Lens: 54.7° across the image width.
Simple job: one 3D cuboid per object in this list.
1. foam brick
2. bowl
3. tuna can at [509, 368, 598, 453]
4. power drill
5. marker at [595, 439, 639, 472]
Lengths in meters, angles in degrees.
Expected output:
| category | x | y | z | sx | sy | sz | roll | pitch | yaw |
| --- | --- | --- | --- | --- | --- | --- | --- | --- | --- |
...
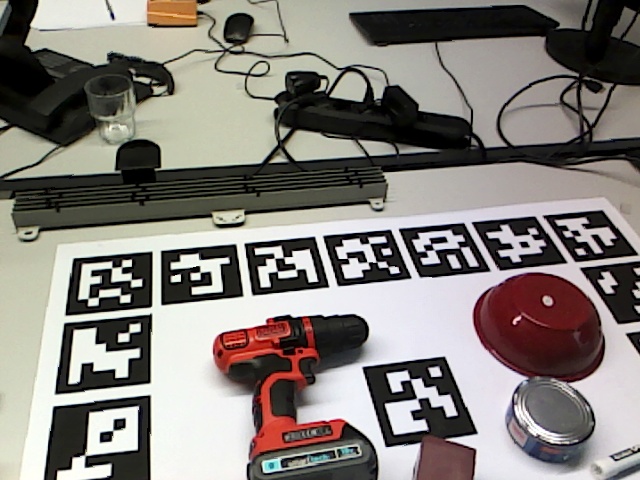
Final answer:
| category | x | y | z | sx | sy | sz | roll | pitch | yaw |
| --- | --- | --- | --- | --- | --- | --- | --- | --- | --- |
| foam brick | 0.118 | 0.234 | 0.595 | 0.051 | 0.052 | 0.078 | 13 | 44 | 7 |
| bowl | 0.274 | 0.092 | 0.767 | 0.161 | 0.055 | 0.162 | -1 | 36 | 0 |
| tuna can | 0.249 | 0.183 | 0.665 | 0.085 | 0.033 | 0.086 | 4 | 42 | -4 |
| power drill | -0.015 | 0.165 | 0.655 | 0.184 | 0.057 | 0.188 | -3 | 40 | -13 |
| marker | 0.342 | 0.215 | 0.645 | 0.120 | 0.019 | 0.020 | -12 | 46 | -17 |
